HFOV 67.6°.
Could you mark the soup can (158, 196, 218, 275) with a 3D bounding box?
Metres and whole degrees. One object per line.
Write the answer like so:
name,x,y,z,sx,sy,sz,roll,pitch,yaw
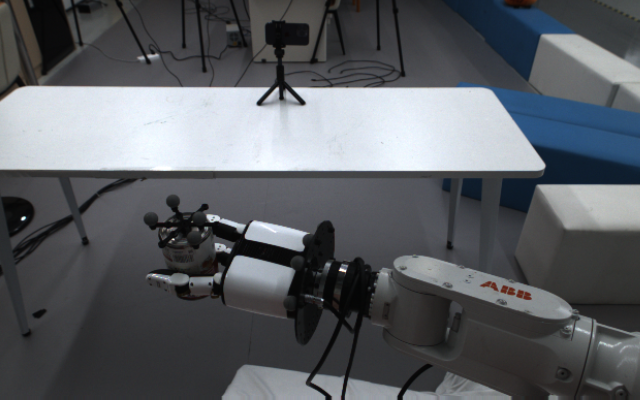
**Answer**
soup can,-0.170,0.077,0.643,0.067,0.101,0.067,1,39,-1
